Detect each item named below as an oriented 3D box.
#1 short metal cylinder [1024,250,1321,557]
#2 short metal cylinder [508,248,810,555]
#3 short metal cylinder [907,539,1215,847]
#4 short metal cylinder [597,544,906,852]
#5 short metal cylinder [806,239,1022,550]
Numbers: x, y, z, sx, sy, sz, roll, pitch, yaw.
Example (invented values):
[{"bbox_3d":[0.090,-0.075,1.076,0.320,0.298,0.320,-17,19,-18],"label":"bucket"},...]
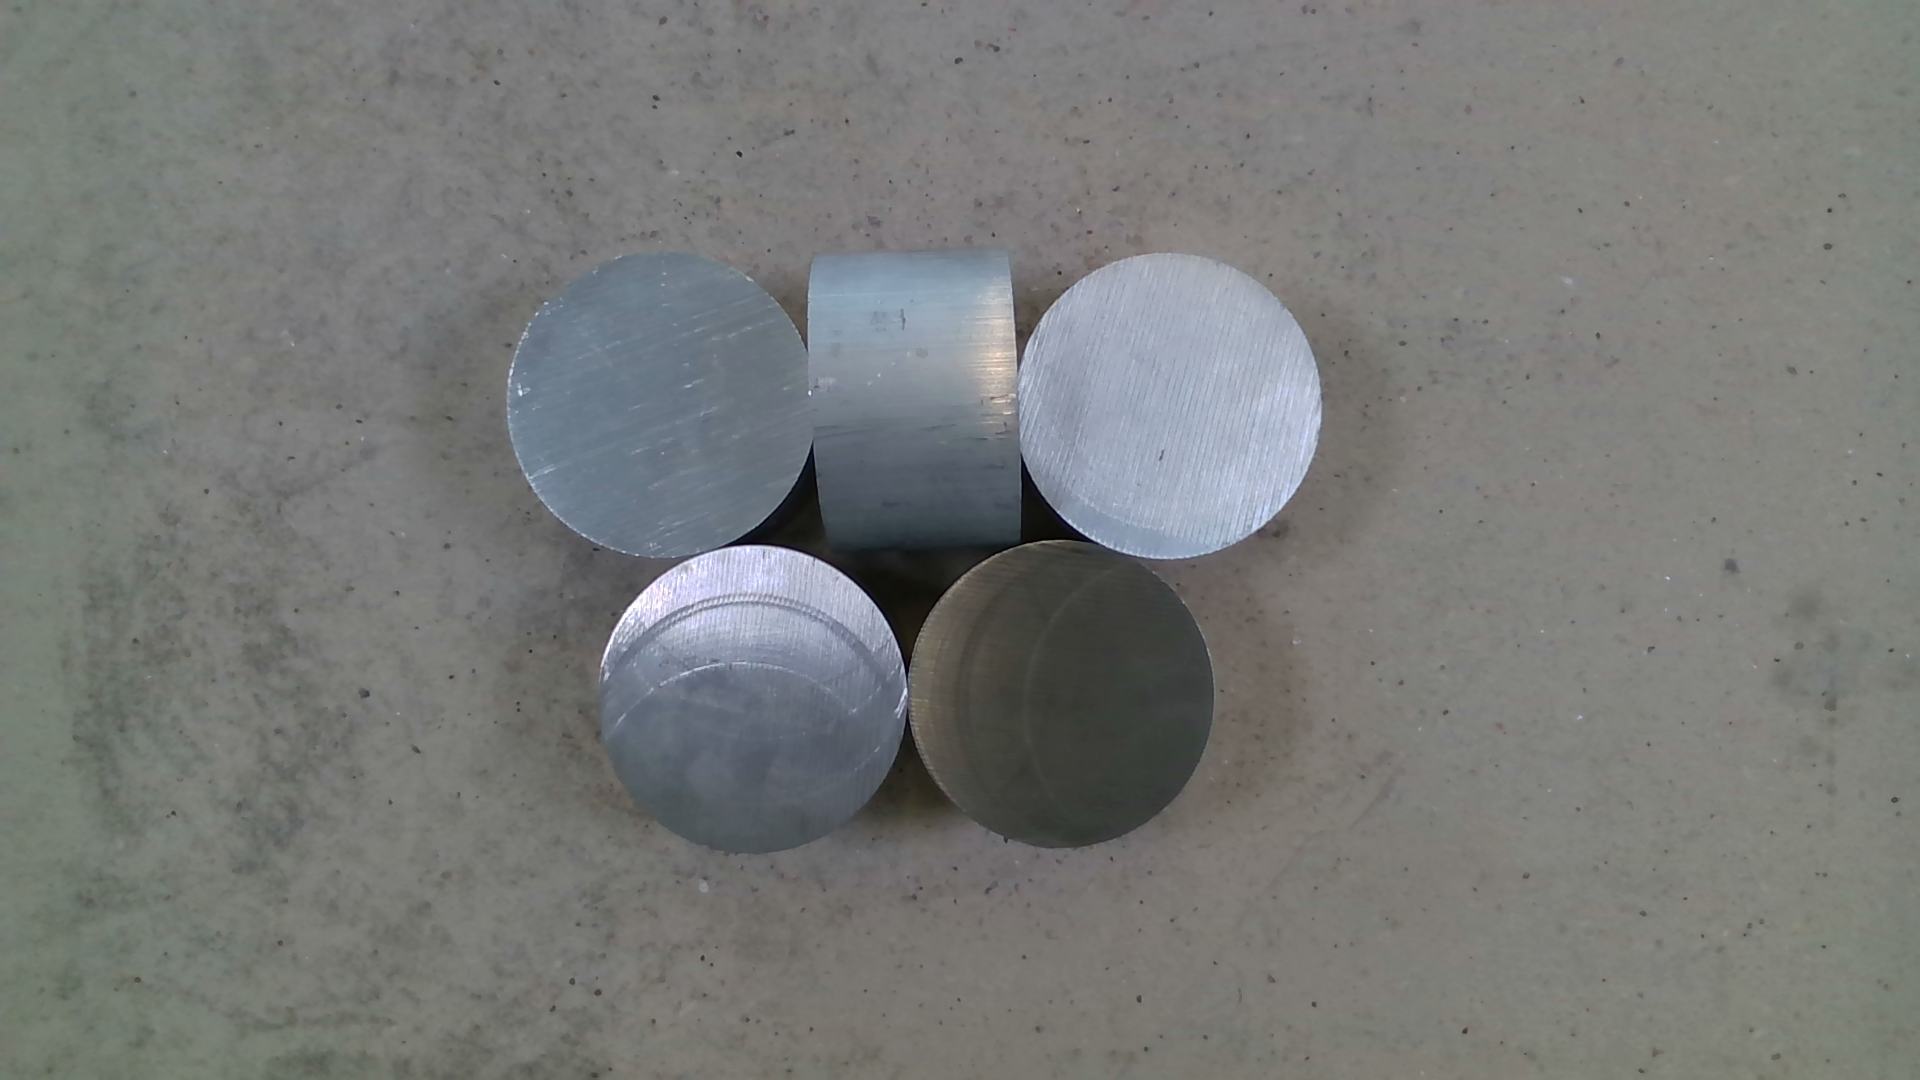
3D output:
[{"bbox_3d":[0.054,-0.035,0.383,0.080,0.050,0.080,0,89,0],"label":"short metal cylinder"},{"bbox_3d":[-0.077,-0.036,0.383,0.080,0.050,0.080,0,89,0],"label":"short metal cylinder"},{"bbox_3d":[0.026,0.040,0.383,0.080,0.050,0.080,0,90,0],"label":"short metal cylinder"},{"bbox_3d":[-0.054,0.041,0.383,0.080,0.050,0.080,0,89,0],"label":"short metal cylinder"},{"bbox_3d":[-0.011,-0.038,0.368,0.050,0.080,0.080,-3,90,0],"label":"short metal cylinder"}]
